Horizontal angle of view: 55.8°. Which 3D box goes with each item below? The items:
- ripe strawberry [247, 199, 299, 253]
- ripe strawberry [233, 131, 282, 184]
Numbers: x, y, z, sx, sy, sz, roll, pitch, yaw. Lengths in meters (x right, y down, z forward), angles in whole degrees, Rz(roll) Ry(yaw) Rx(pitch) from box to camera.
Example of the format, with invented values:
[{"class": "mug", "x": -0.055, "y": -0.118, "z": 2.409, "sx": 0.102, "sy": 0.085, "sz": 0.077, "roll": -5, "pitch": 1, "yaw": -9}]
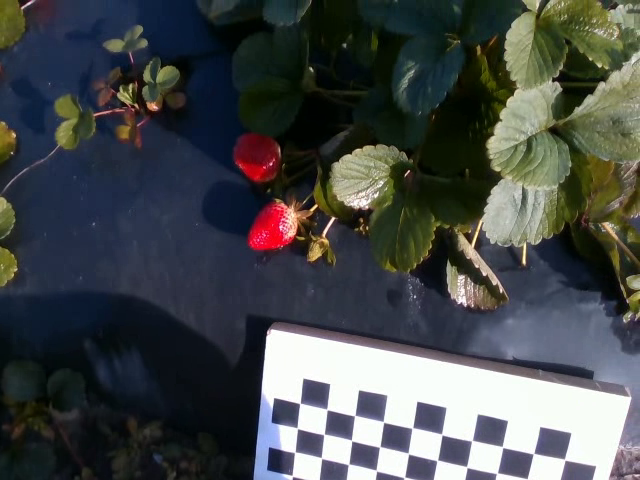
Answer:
[{"class": "ripe strawberry", "x": -0.044, "y": -0.011, "z": 0.519, "sx": 0.053, "sy": 0.043, "sz": 0.038, "roll": -39, "pitch": 2, "yaw": -24}, {"class": "ripe strawberry", "x": -0.057, "y": -0.075, "z": 0.545, "sx": 0.054, "sy": 0.048, "sz": 0.039, "roll": 20, "pitch": 15, "yaw": -18}]
